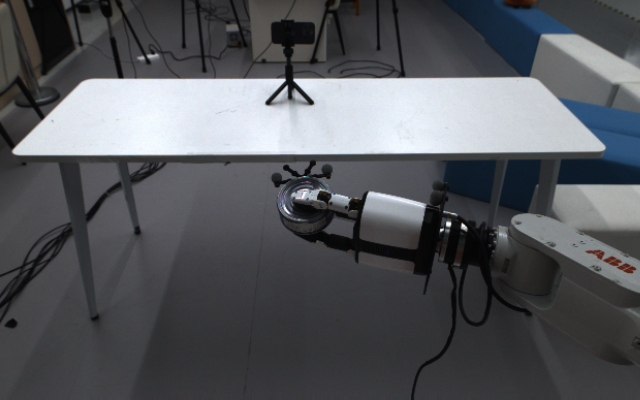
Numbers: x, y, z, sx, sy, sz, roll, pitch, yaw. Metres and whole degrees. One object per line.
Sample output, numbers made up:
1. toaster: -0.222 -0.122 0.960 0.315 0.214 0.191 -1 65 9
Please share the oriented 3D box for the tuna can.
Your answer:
1. tuna can: -0.017 0.013 0.719 0.085 0.034 0.085 -3 58 5
